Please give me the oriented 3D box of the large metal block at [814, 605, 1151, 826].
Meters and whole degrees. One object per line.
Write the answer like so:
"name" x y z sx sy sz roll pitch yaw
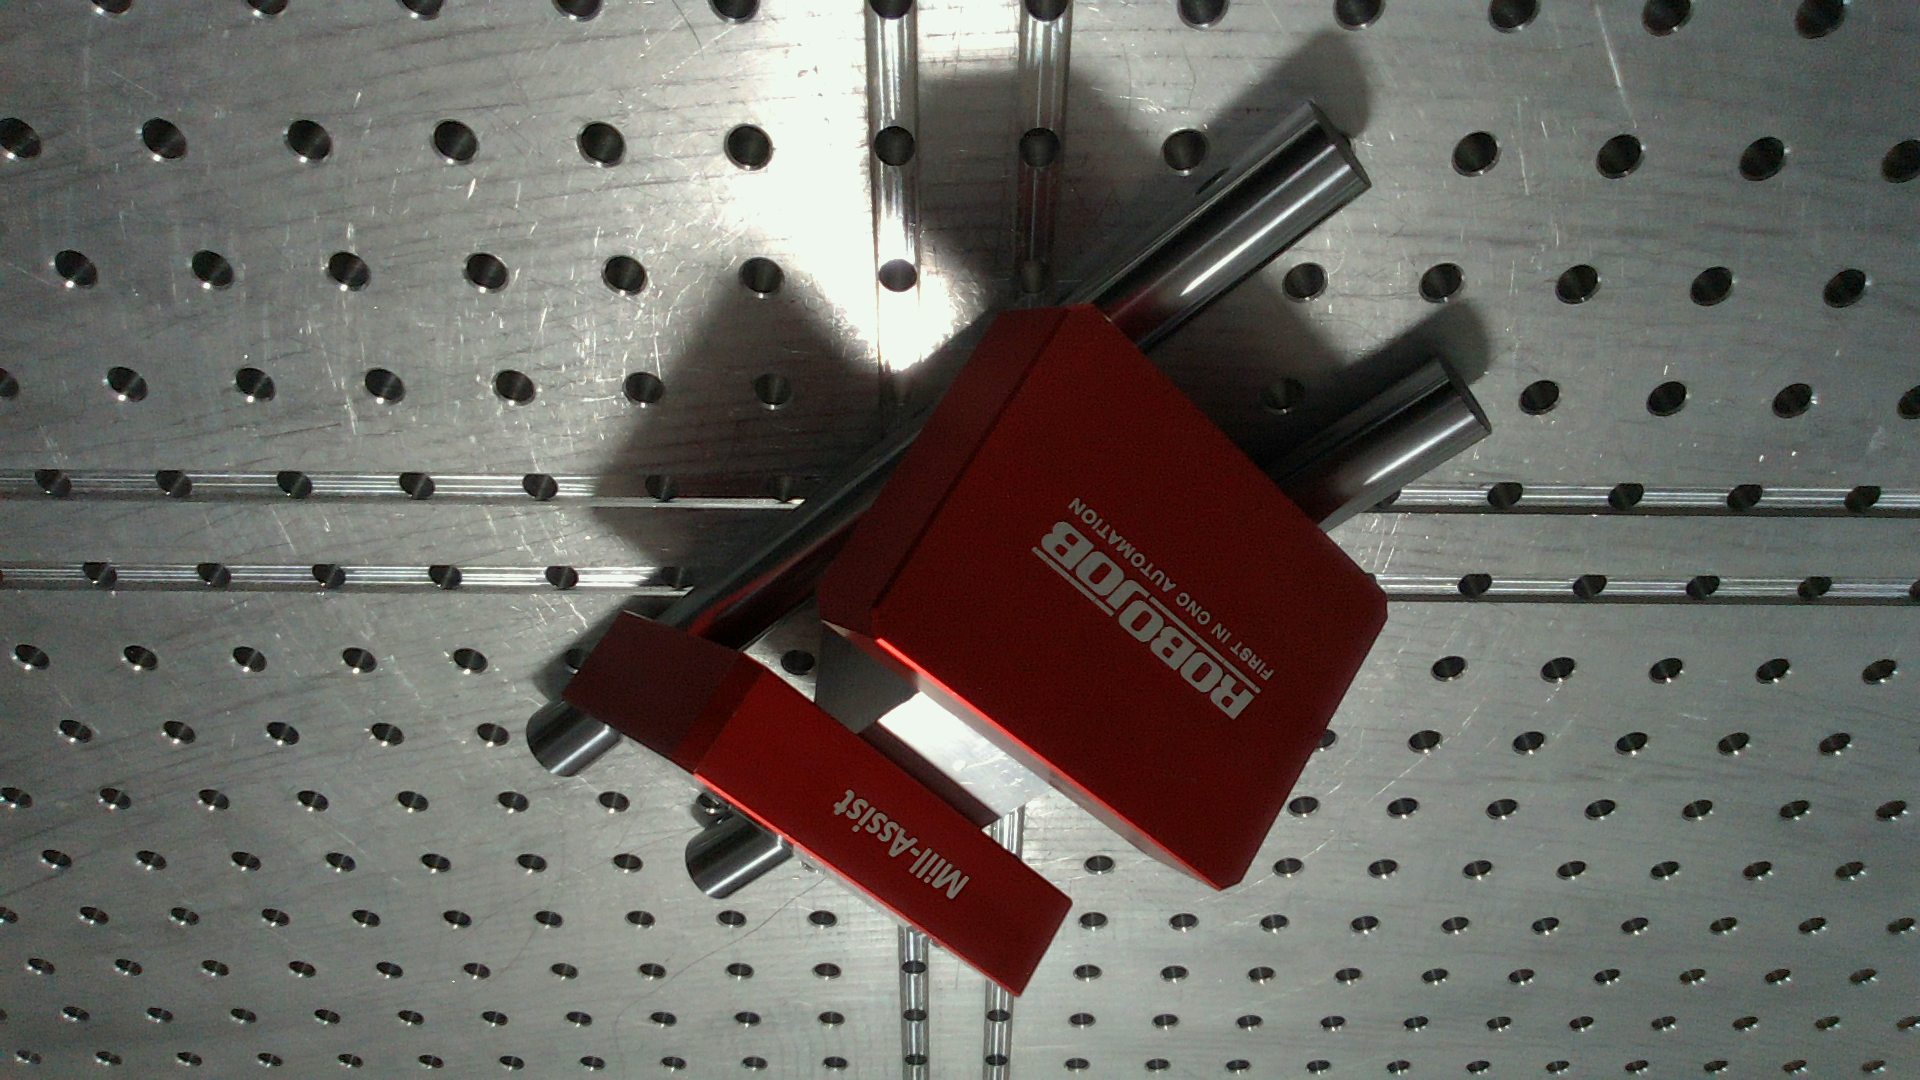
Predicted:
"large metal block" 0.007 0.026 0.379 0.080 0.080 0.050 -35 122 26

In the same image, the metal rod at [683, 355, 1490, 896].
"metal rod" 0.022 0.038 0.426 0.299 0.025 0.025 -35 122 26

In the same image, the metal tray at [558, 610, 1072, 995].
"metal tray" -0.040 0.073 0.384 0.130 0.030 0.090 42 162 -30

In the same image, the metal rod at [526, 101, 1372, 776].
"metal rod" -0.021 -0.013 0.383 0.299 0.025 0.025 -36 122 26

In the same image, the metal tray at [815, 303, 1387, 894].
"metal tray" 0.040 0.016 0.336 0.130 0.030 0.090 39 76 -28
